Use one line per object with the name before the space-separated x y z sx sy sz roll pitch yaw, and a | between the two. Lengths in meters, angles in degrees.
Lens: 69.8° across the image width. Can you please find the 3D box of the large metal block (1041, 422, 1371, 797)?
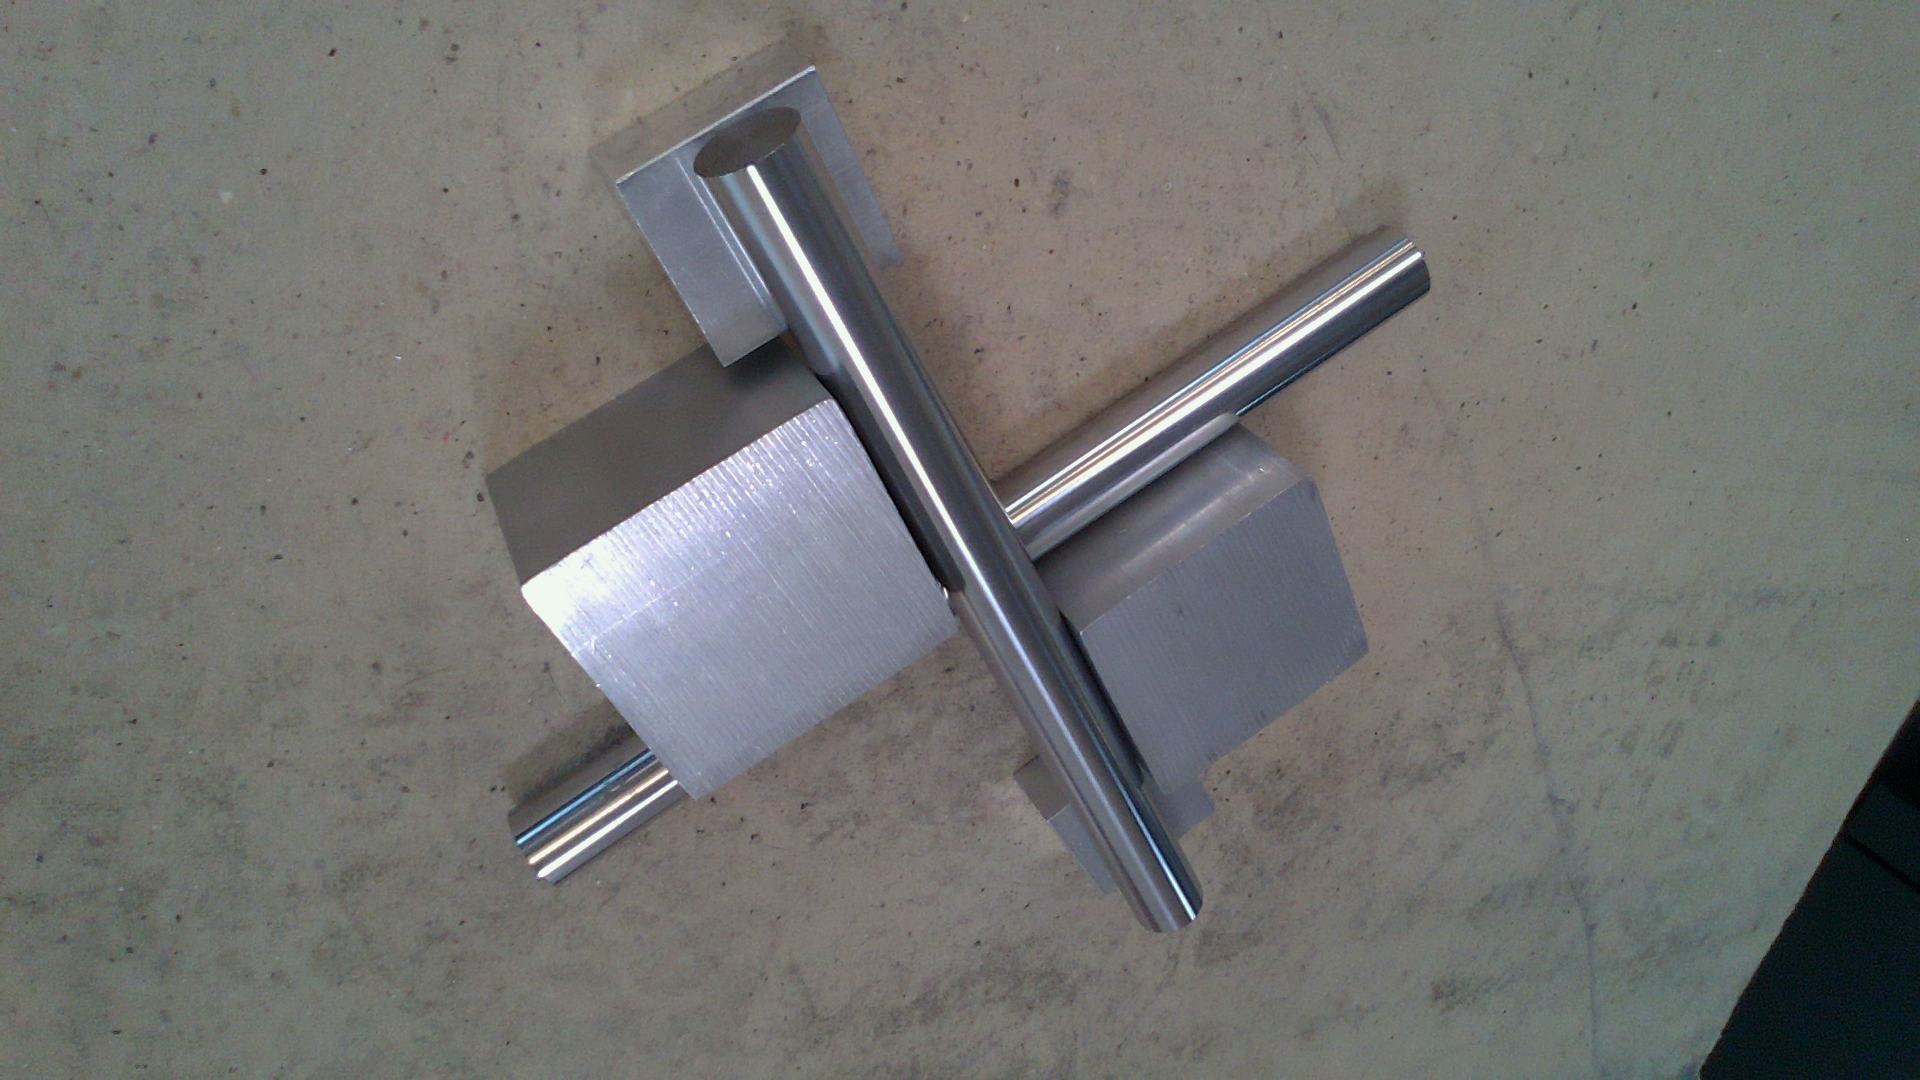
large metal block | 0.070 0.018 0.422 0.080 0.050 0.080 -34 129 -6

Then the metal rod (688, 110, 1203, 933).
metal rod | 0.013 0.021 0.376 0.025 0.025 0.301 -34 129 -6

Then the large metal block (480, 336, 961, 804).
large metal block | -0.058 0.005 0.342 0.080 0.050 0.080 -33 129 -7

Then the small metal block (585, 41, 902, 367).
small metal block | -0.049 -0.077 0.317 0.050 0.025 0.050 -33 129 -7

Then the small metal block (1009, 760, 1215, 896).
small metal block | 0.053 0.086 0.472 0.050 0.025 0.050 -37 129 -3

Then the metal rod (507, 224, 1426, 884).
metal rod | 0.007 0.000 0.394 0.300 0.025 0.025 -34 129 -6
